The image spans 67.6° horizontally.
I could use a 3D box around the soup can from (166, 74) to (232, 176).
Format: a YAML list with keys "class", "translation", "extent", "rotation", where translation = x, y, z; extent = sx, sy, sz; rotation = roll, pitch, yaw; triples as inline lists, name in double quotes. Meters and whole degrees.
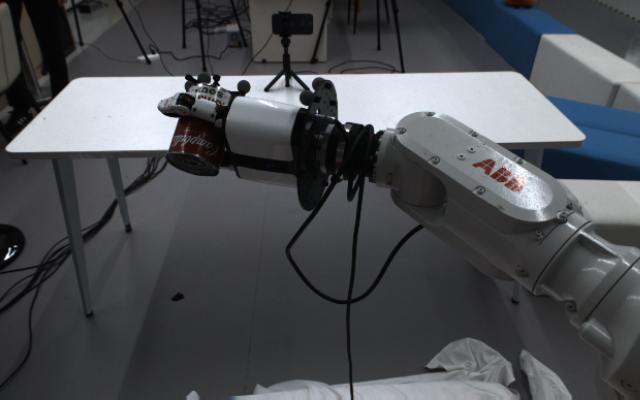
- class: "soup can"
  translation: [-0.149, -0.089, 0.620]
  extent: [0.067, 0.067, 0.101]
  rotation: [8, 71, 9]
